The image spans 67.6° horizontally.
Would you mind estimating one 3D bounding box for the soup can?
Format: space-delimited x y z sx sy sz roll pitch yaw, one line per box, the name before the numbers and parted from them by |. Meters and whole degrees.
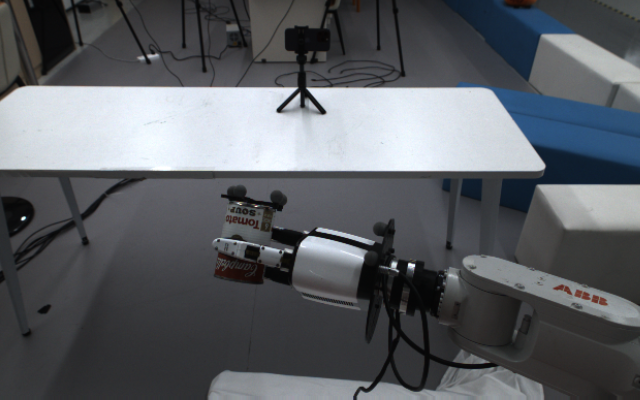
soup can | -0.099 0.057 0.650 0.067 0.101 0.067 9 -5 1
